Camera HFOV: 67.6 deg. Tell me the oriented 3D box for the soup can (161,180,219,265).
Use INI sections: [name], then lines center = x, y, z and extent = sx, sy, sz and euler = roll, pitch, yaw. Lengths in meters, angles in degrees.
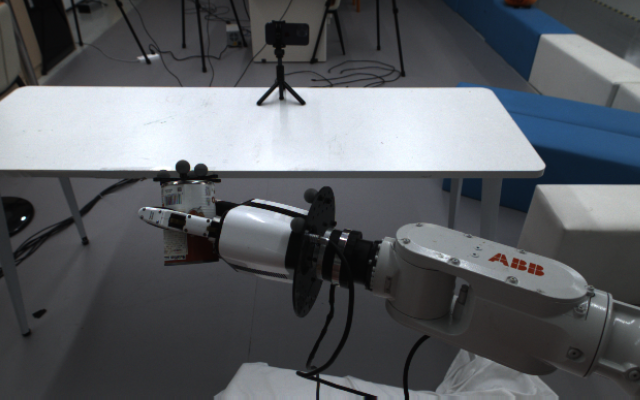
[soup can]
center = -0.163, 0.031, 0.614
extent = 0.067, 0.101, 0.067
euler = -5, -5, 0
